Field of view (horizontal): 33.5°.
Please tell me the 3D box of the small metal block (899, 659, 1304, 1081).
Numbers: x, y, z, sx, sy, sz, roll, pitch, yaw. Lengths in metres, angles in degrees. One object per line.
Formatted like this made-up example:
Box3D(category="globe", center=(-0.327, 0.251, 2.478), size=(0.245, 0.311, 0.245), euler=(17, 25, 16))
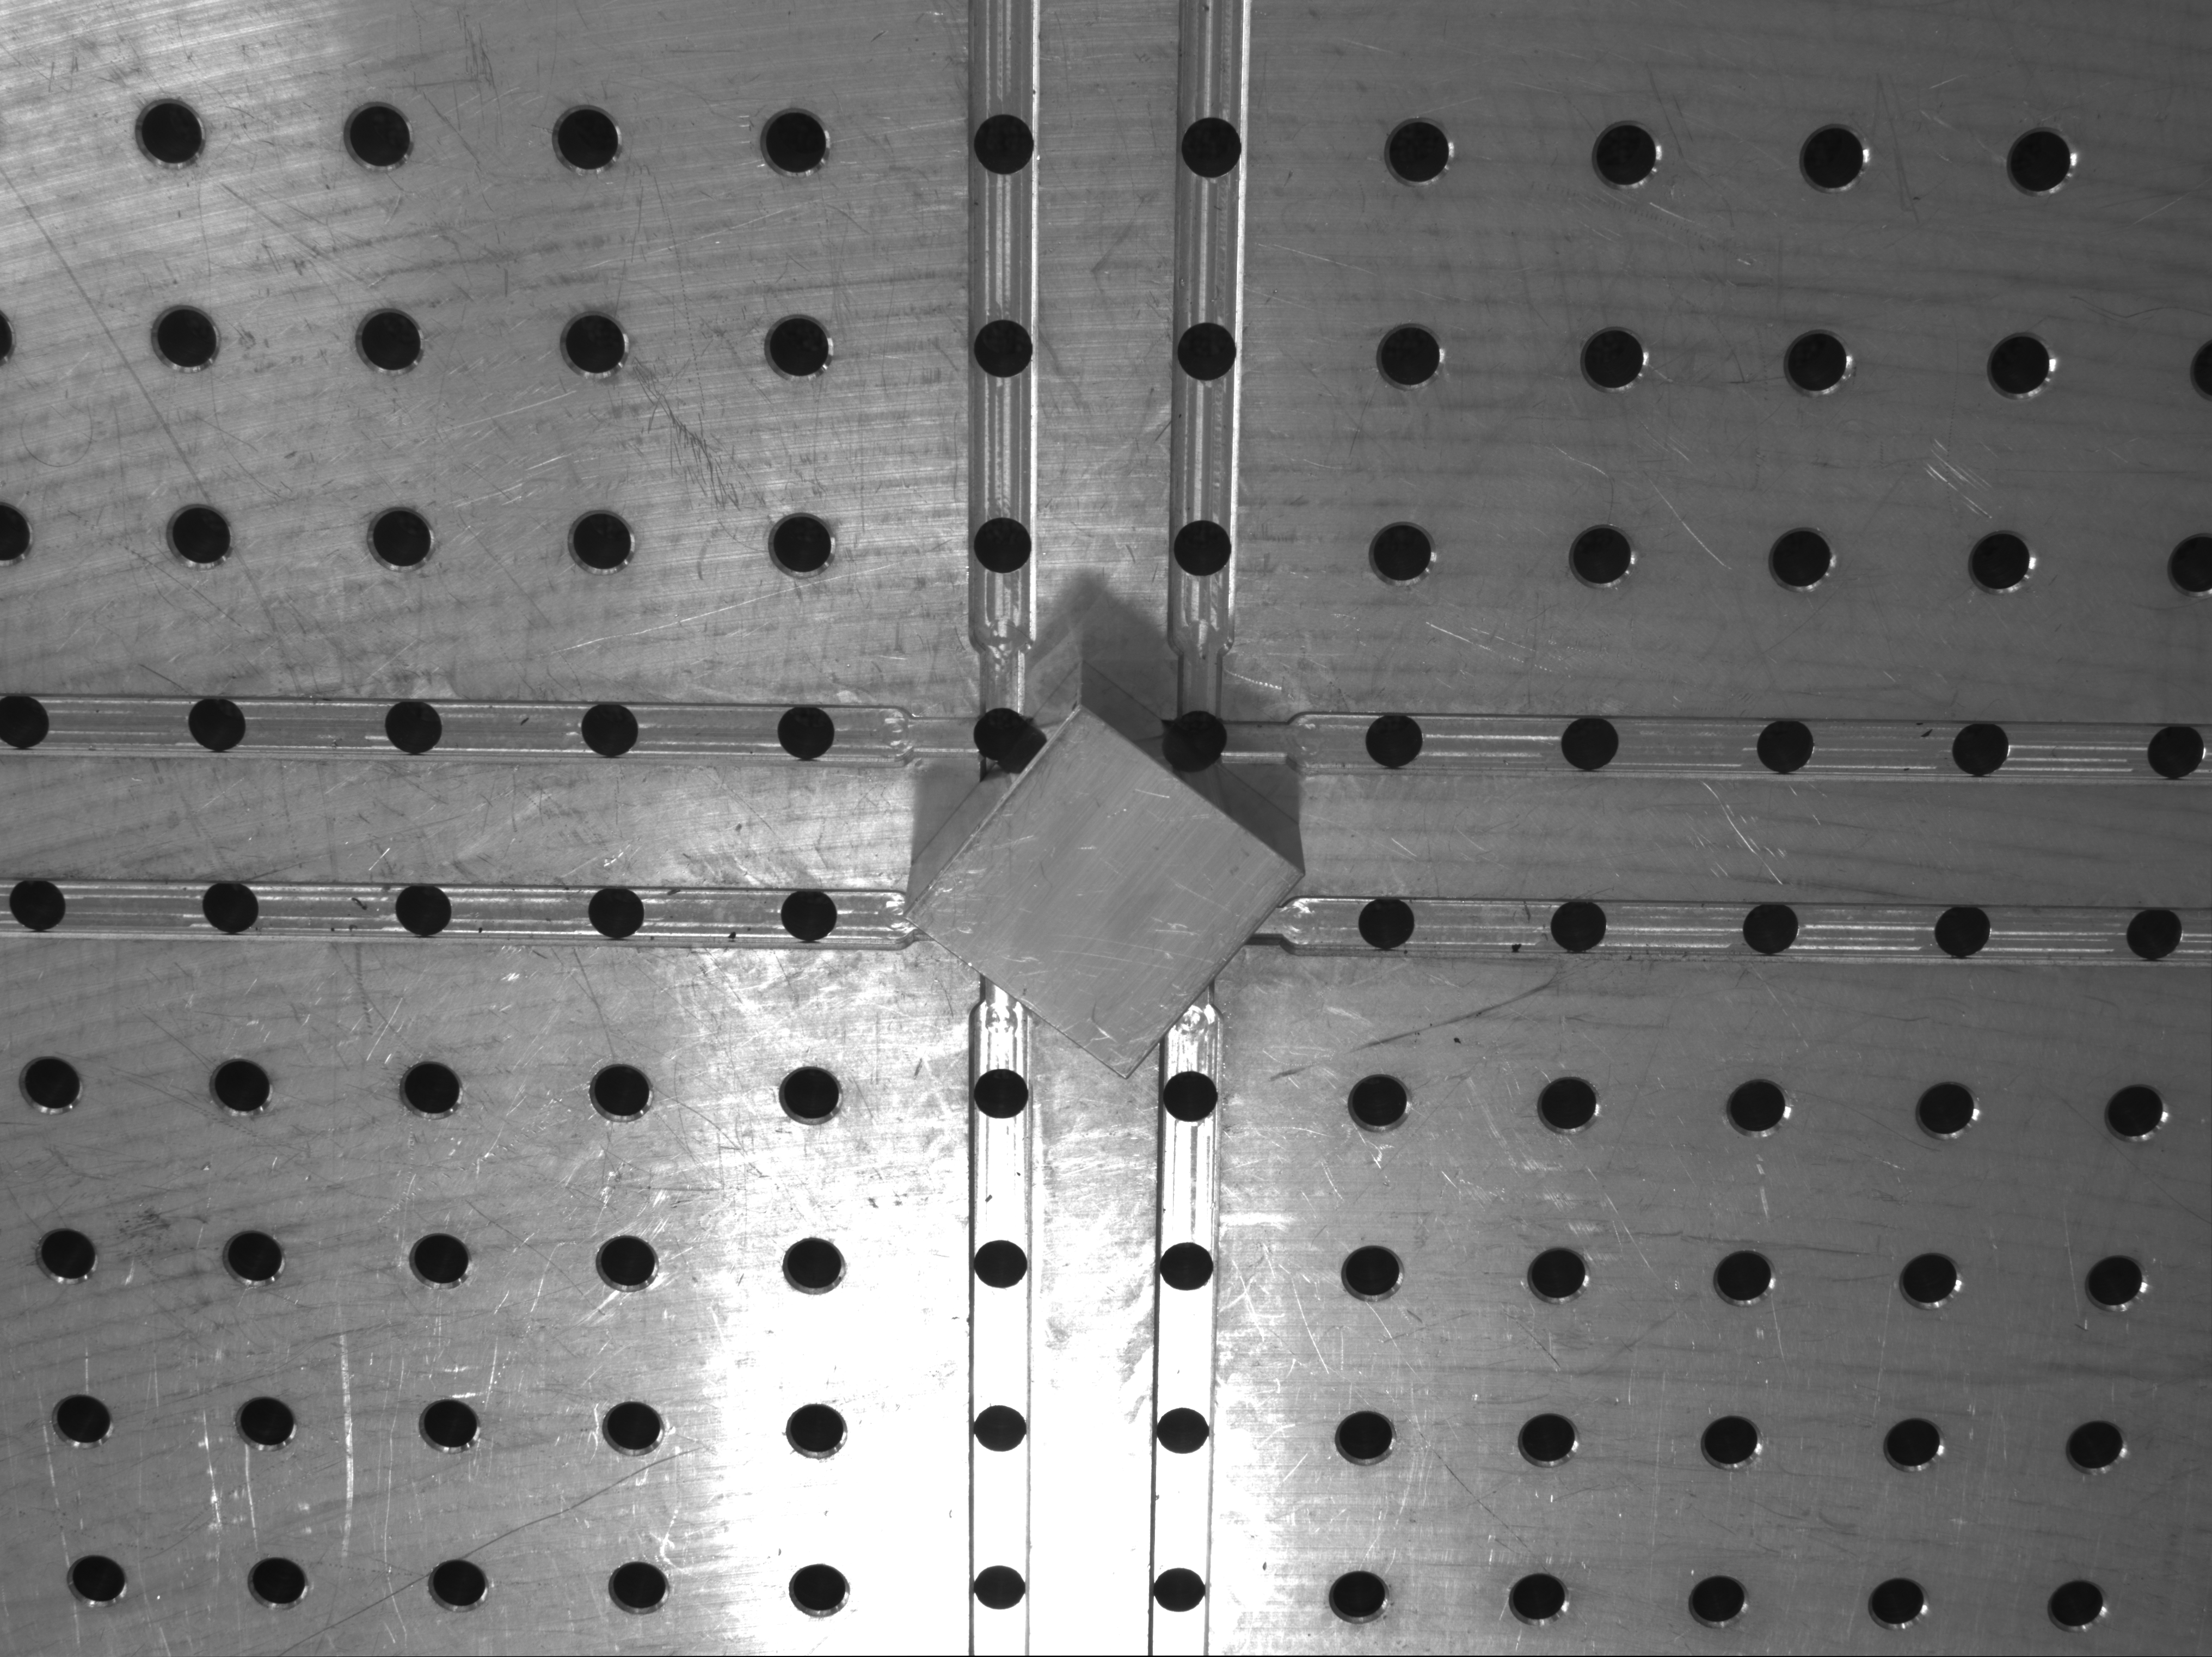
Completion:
Box3D(category="small metal block", center=(-0.001, 0.007, 0.650), size=(0.050, 0.025, 0.050), euler=(37, 106, -13))
